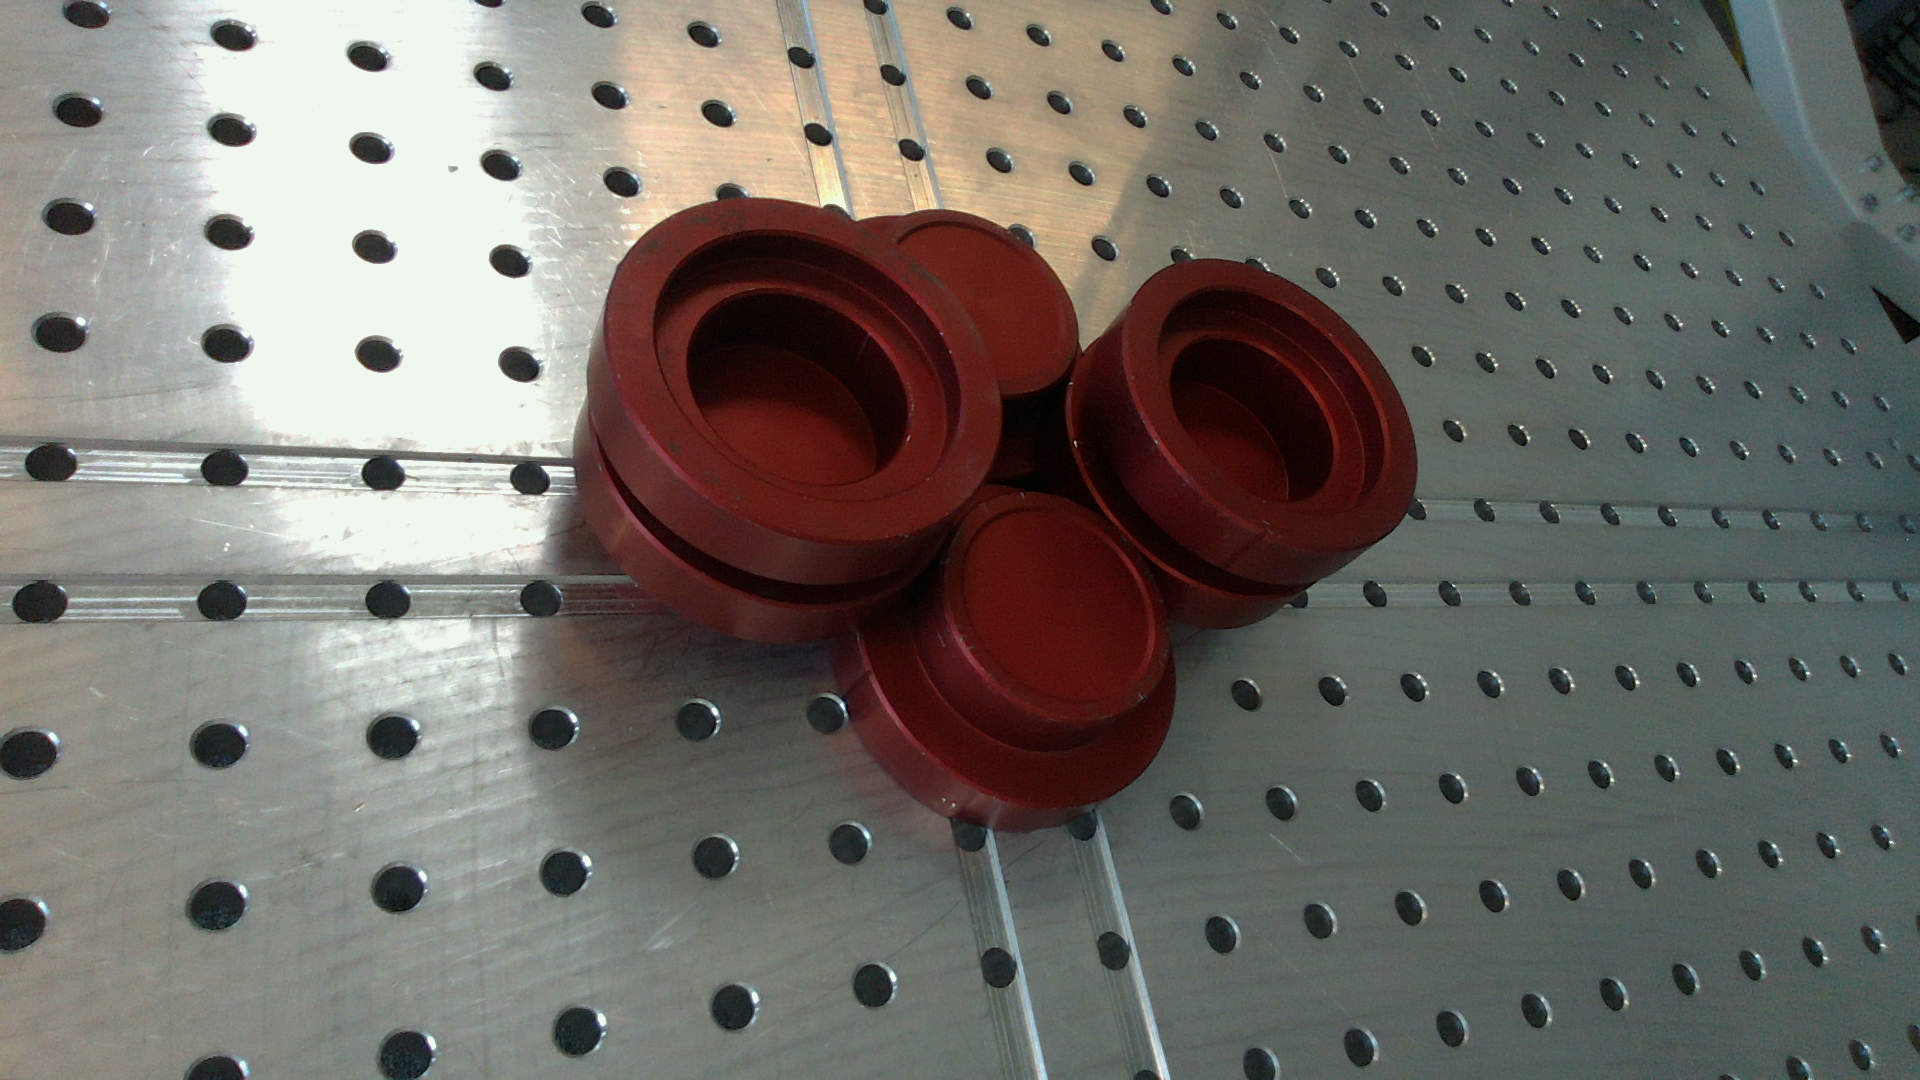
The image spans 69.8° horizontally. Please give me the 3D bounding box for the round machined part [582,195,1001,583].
[{"bbox_3d":[-0.043,-0.033,0.337,0.098,0.042,0.098,14,56,-21],"label":"round machined part"}]

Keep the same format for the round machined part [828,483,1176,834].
[{"bbox_3d":[0.017,0.026,0.374,0.098,0.042,0.098,14,56,-21],"label":"round machined part"}]

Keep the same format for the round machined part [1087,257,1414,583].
[{"bbox_3d":[0.080,-0.031,0.401,0.098,0.042,0.098,14,56,-21],"label":"round machined part"}]

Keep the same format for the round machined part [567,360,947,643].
[{"bbox_3d":[-0.054,-0.017,0.363,0.098,0.042,0.098,14,56,-21],"label":"round machined part"}]

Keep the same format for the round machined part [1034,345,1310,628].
[{"bbox_3d":[0.066,-0.017,0.427,0.098,0.042,0.098,14,56,-21],"label":"round machined part"}]

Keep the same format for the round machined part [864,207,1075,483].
[{"bbox_3d":[-0.005,-0.061,0.416,0.098,0.042,0.098,14,56,-21],"label":"round machined part"}]
